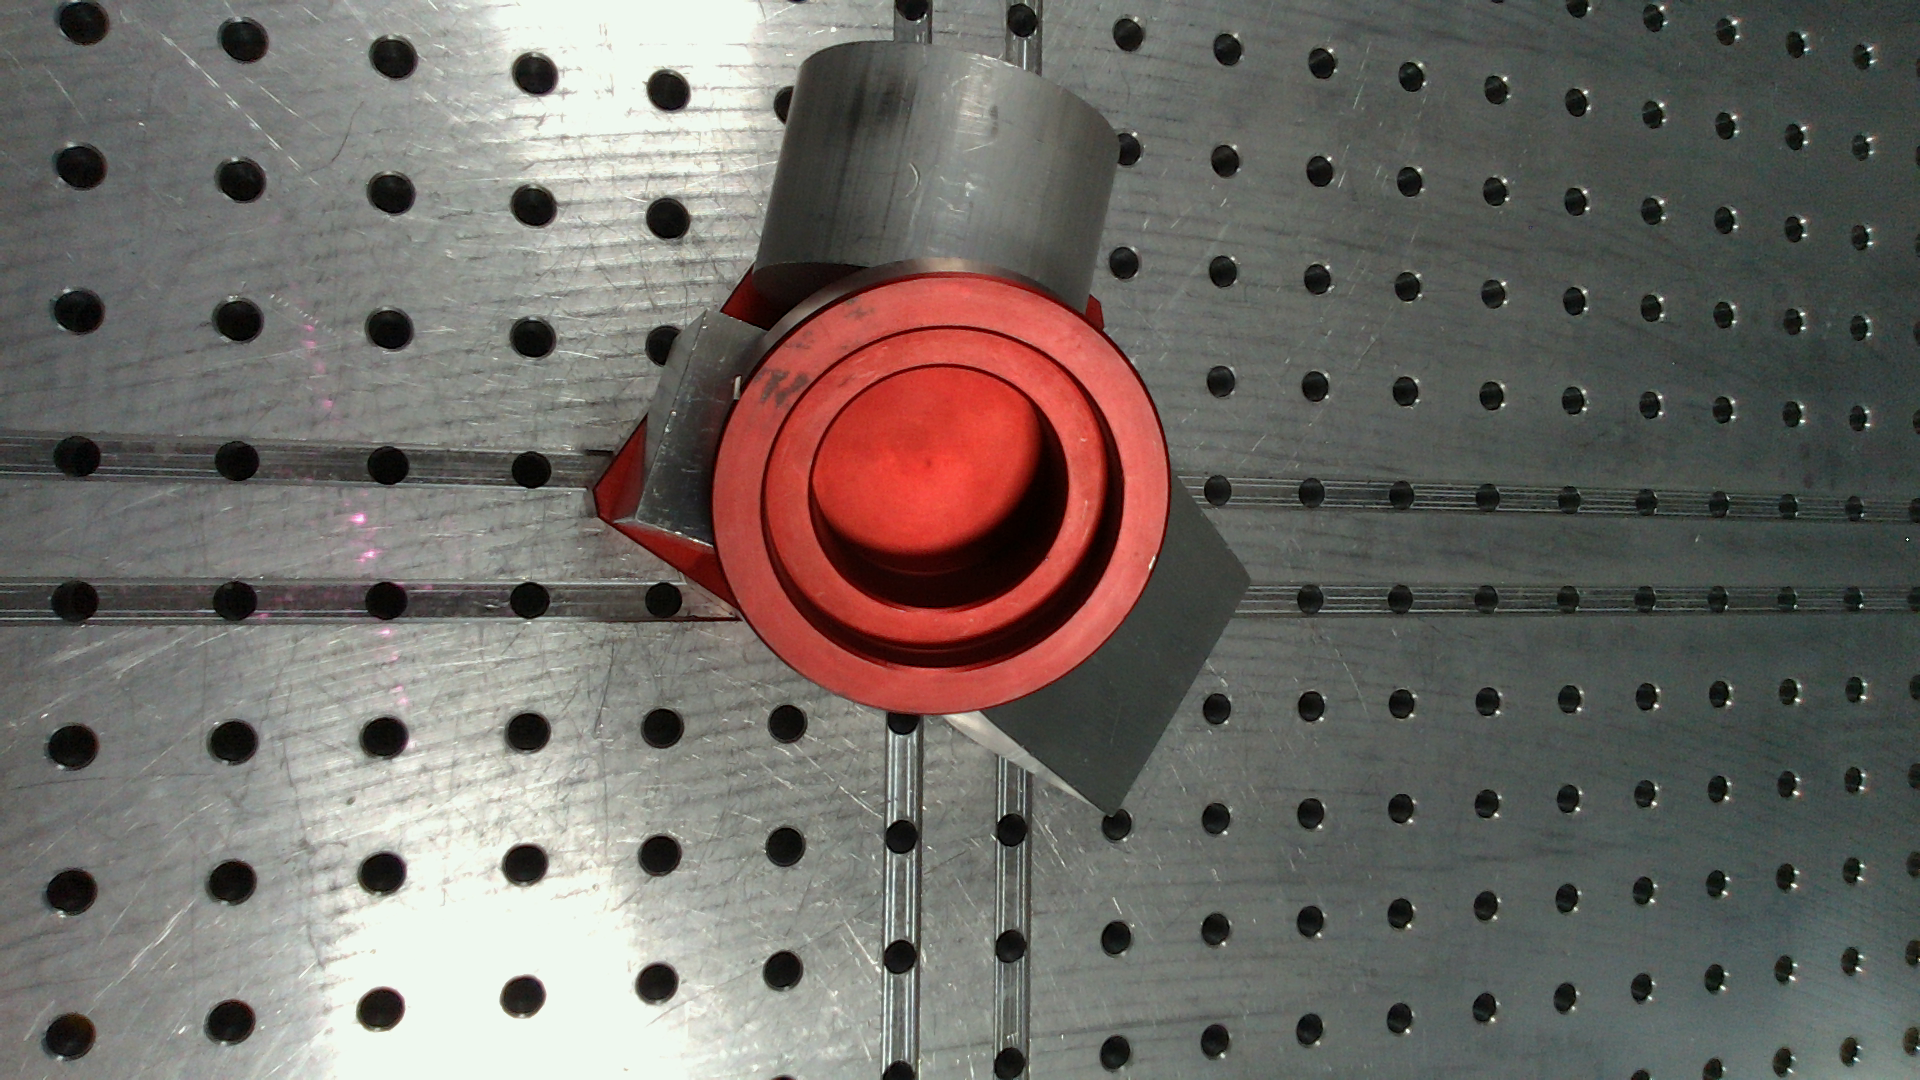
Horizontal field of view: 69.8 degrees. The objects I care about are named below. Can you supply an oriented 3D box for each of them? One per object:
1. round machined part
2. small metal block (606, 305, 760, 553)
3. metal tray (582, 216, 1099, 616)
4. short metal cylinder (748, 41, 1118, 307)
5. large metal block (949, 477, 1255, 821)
[{"bbox_3d":[-0.006,-0.014,0.306,0.098,0.042,0.098,-3,110,-7],"label":"round machined part"},{"bbox_3d":[-0.061,-0.024,0.327,0.025,0.050,0.050,20,83,-19],"label":"small metal block"},{"bbox_3d":[-0.031,-0.038,0.383,0.090,0.030,0.130,36,78,-16],"label":"metal tray"},{"bbox_3d":[-0.006,-0.078,0.332,0.080,0.080,0.050,14,85,-19],"label":"short metal cylinder"},{"bbox_3d":[0.026,0.018,0.373,0.080,0.050,0.080,-58,137,-11],"label":"large metal block"}]
